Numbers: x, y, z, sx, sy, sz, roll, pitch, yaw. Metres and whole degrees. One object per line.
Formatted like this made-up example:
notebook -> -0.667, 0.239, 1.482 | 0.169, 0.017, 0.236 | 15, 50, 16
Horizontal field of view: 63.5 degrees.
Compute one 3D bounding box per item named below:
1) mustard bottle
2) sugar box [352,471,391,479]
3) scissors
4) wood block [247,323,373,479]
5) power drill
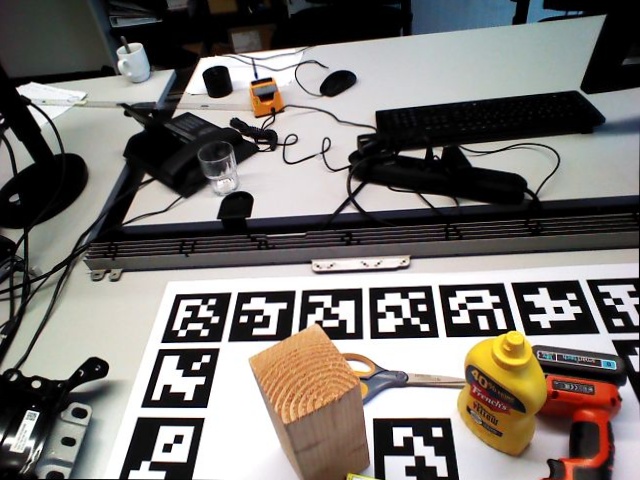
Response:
mustard bottle -> 0.215, 0.165, 0.590 | 0.058, 0.192, 0.096 | -33, 50, -19
sugar box -> 0.119, 0.298, 0.539 | 0.177, 0.093, 0.045 | 7, 44, 15
scissors -> 0.092, 0.183, 0.708 | 0.203, 0.016, 0.087 | -2, 42, 10
wood block -> -0.005, 0.199, 0.592 | 0.091, 0.207, 0.090 | -24, 47, -12
power drill -> 0.267, 0.239, 0.589 | 0.185, 0.057, 0.185 | 7, 55, 18
